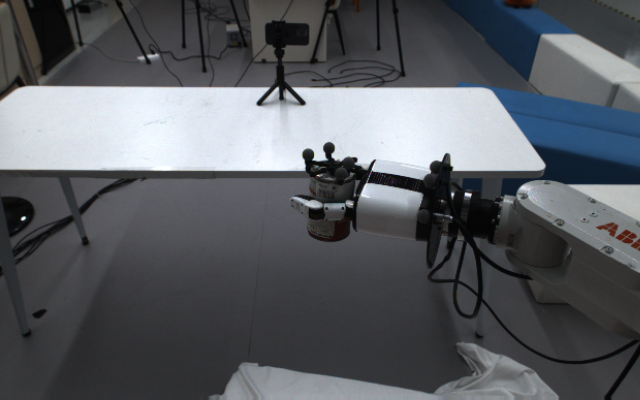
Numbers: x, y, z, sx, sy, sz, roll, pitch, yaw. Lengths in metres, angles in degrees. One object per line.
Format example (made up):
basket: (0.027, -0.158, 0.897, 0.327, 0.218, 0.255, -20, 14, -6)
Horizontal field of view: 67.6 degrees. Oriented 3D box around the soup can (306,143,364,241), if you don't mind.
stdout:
soup can: (0.017, 0.002, 0.710, 0.067, 0.101, 0.067, 3, 30, -2)
